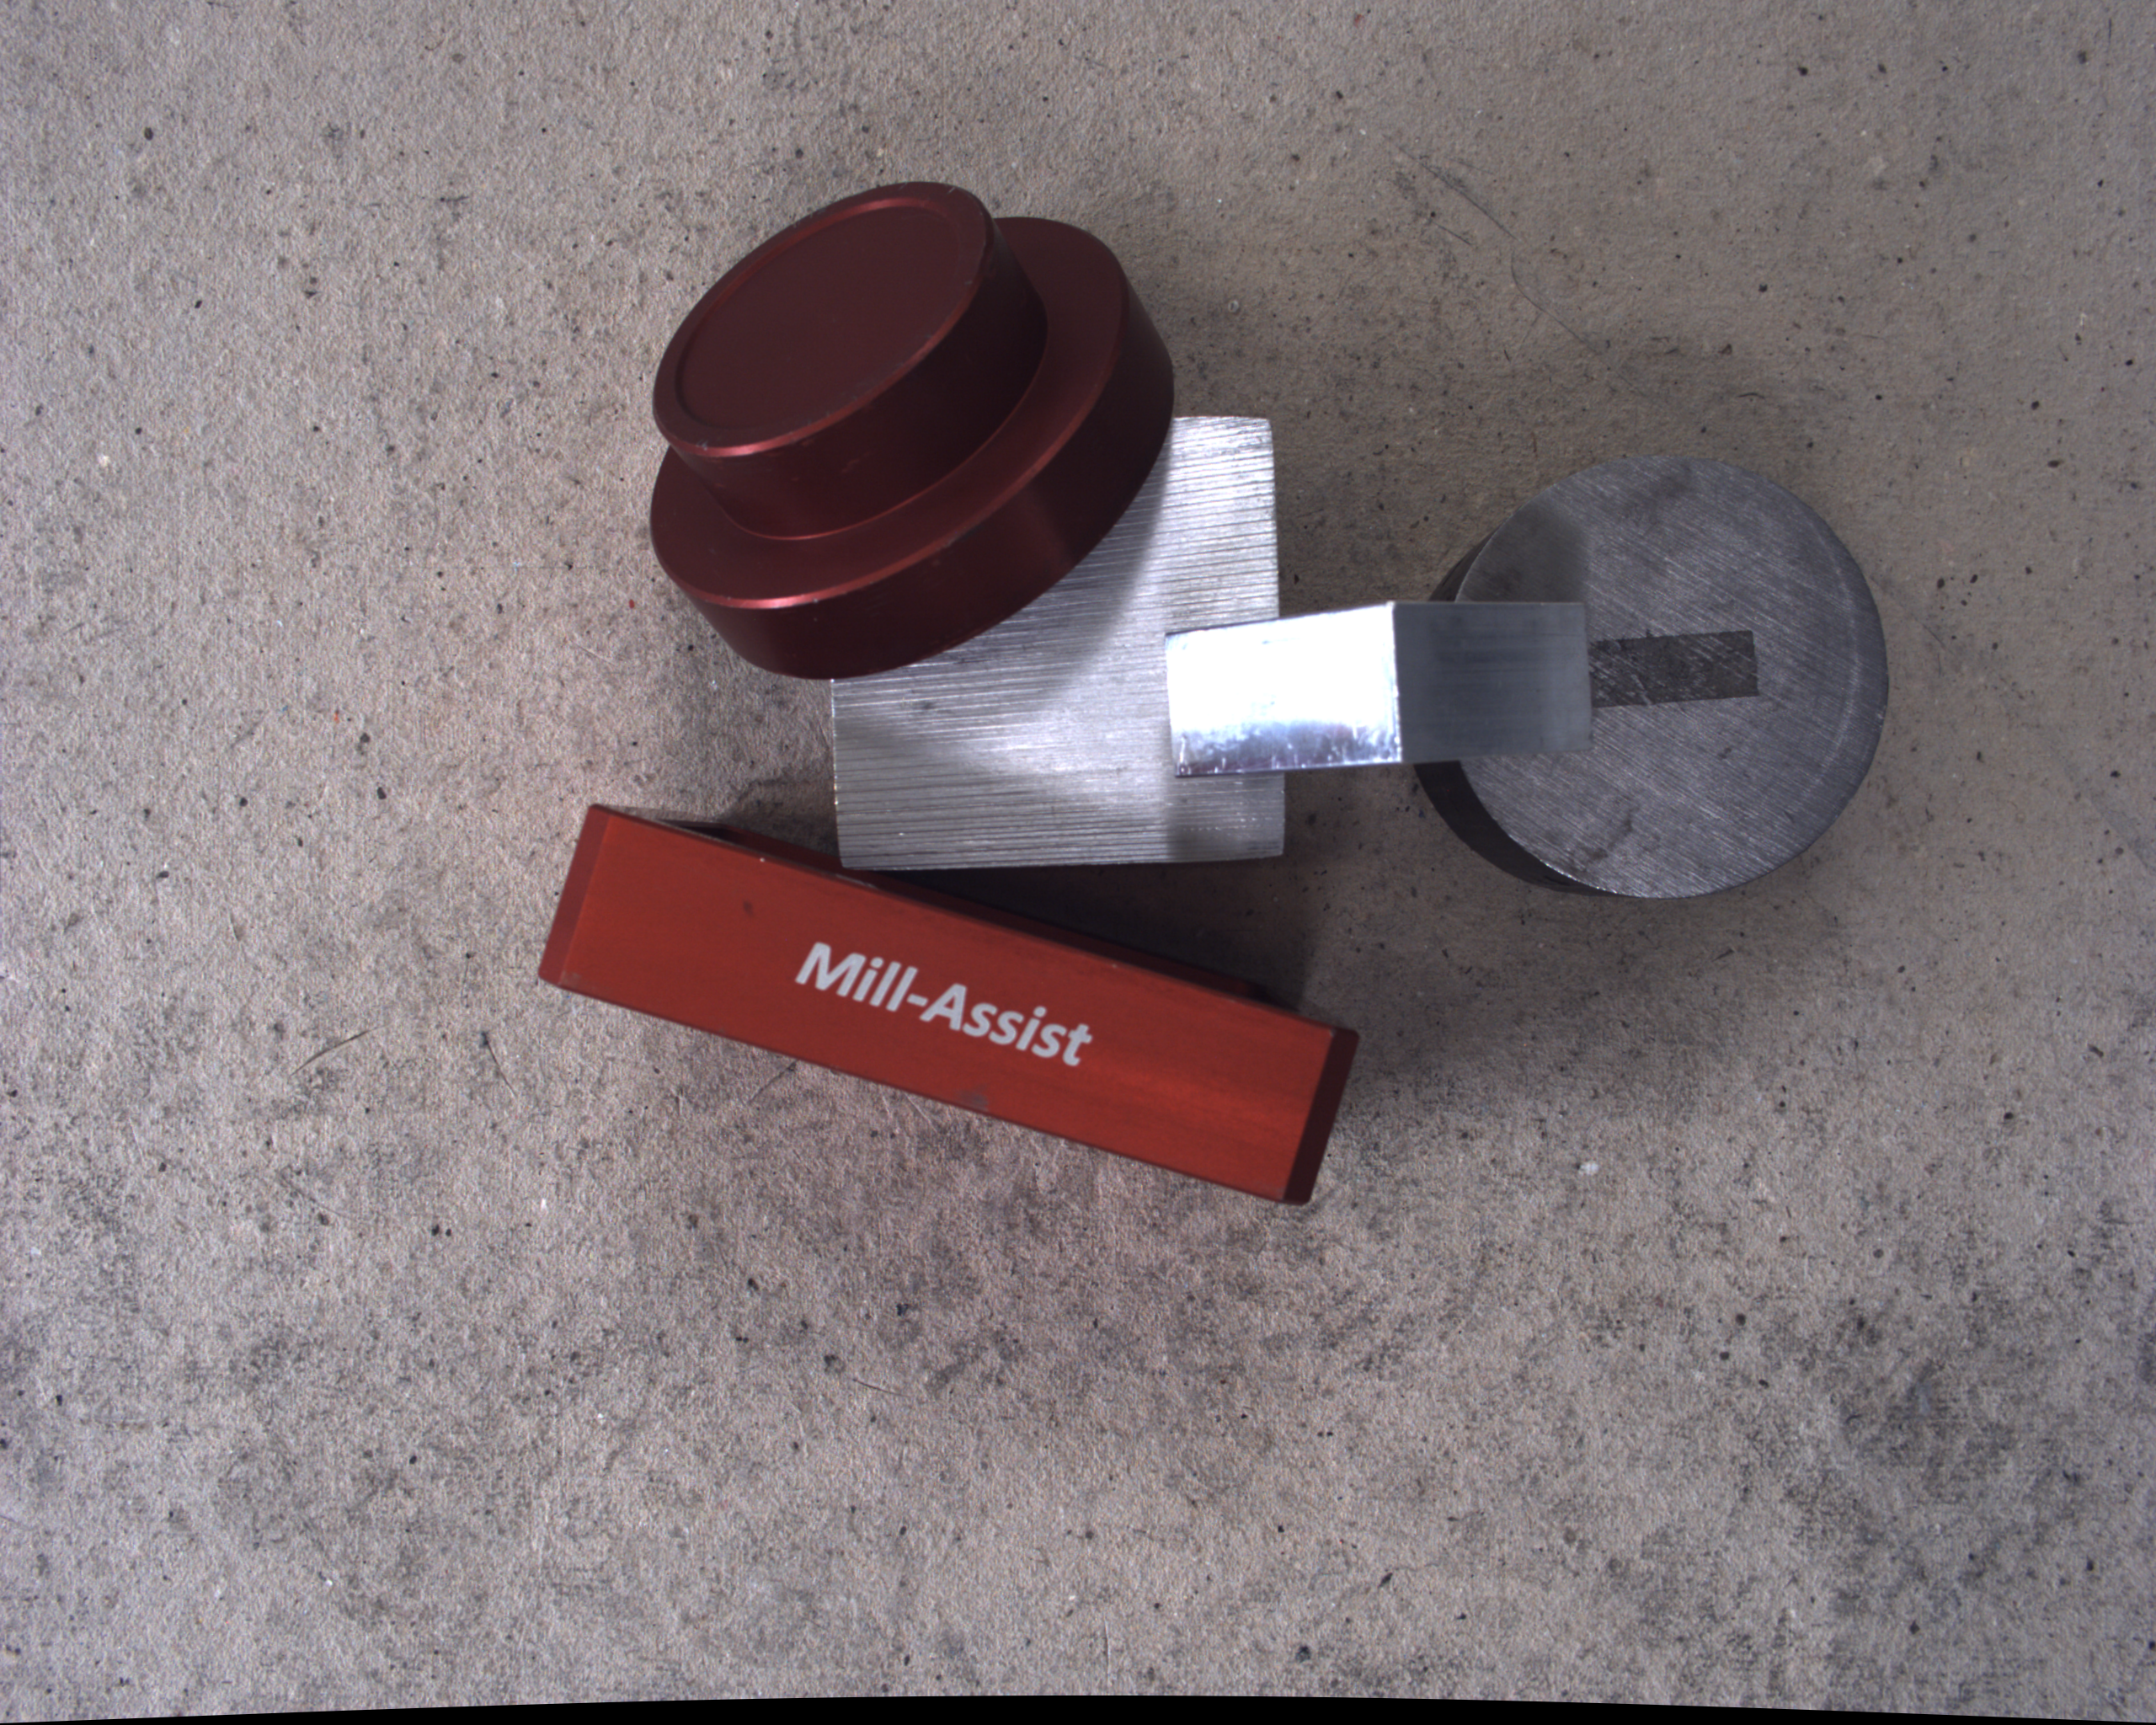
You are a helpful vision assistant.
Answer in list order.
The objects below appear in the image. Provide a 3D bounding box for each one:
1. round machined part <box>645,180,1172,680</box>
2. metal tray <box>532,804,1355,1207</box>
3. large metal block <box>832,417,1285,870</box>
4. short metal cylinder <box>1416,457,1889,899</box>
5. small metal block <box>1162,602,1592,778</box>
[{"bbox_3d":[-0.036,-0.083,0.374,0.098,0.098,0.042,-36,134,0],"label":"round machined part"},{"bbox_3d":[-0.022,0.023,0.378,0.131,0.090,0.030,17,90,0],"label":"metal tray"},{"bbox_3d":[-0.004,-0.040,0.400,0.081,0.050,0.080,-1,90,0],"label":"large metal block"},{"bbox_3d":[0.106,-0.033,0.400,0.081,0.050,0.080,0,90,0],"label":"short metal cylinder"},{"bbox_3d":[0.051,-0.029,0.353,0.050,0.050,0.025,-6,94,-41],"label":"small metal block"}]
